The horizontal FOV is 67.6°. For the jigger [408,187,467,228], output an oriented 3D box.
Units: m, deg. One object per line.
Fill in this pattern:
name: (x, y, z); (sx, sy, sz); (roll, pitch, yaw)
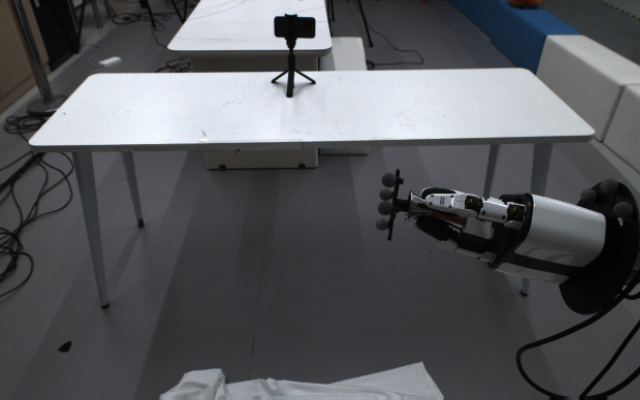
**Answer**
jigger: (0.147, 0.008, 0.589); (0.071, 0.043, 0.043); (7, 35, 5)
